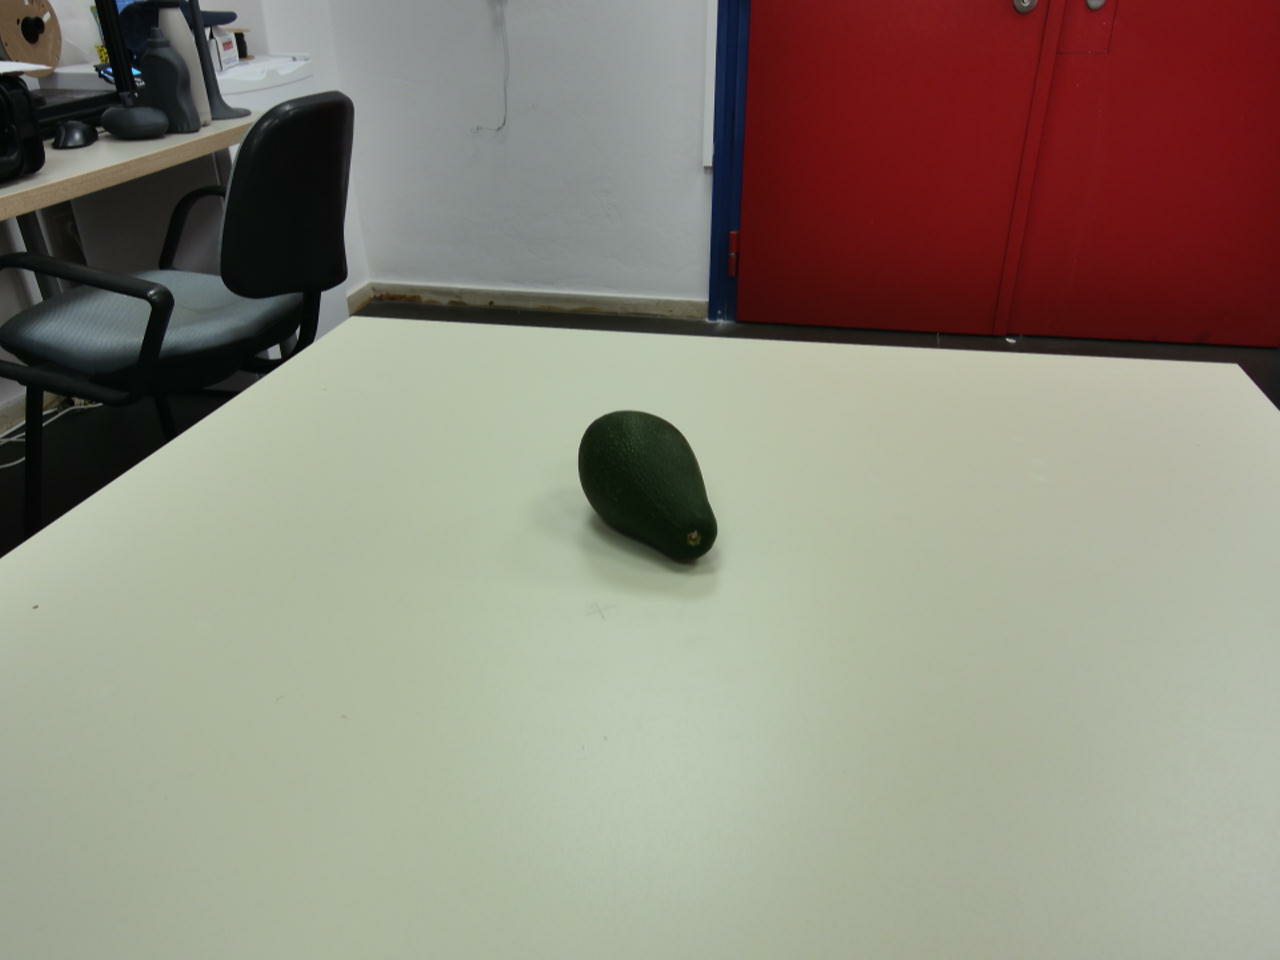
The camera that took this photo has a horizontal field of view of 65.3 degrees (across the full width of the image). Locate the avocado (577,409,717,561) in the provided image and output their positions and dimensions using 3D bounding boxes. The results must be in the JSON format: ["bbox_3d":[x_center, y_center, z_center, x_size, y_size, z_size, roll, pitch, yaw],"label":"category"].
[{"bbox_3d":[0.002,0.002,0.591,0.072,0.071,0.109,-7,26,-10],"label":"avocado"}]
